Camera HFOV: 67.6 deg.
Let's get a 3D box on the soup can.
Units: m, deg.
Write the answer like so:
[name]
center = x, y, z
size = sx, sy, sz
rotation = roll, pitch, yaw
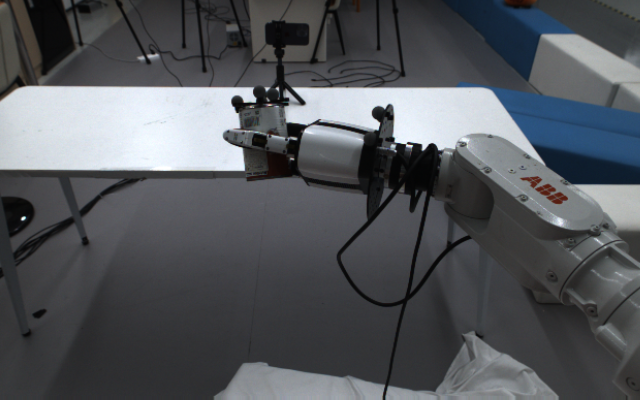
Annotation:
[soup can]
center = -0.077, -0.079, 0.686
size = 0.067, 0.101, 0.067
rotation = -7, 3, 0
